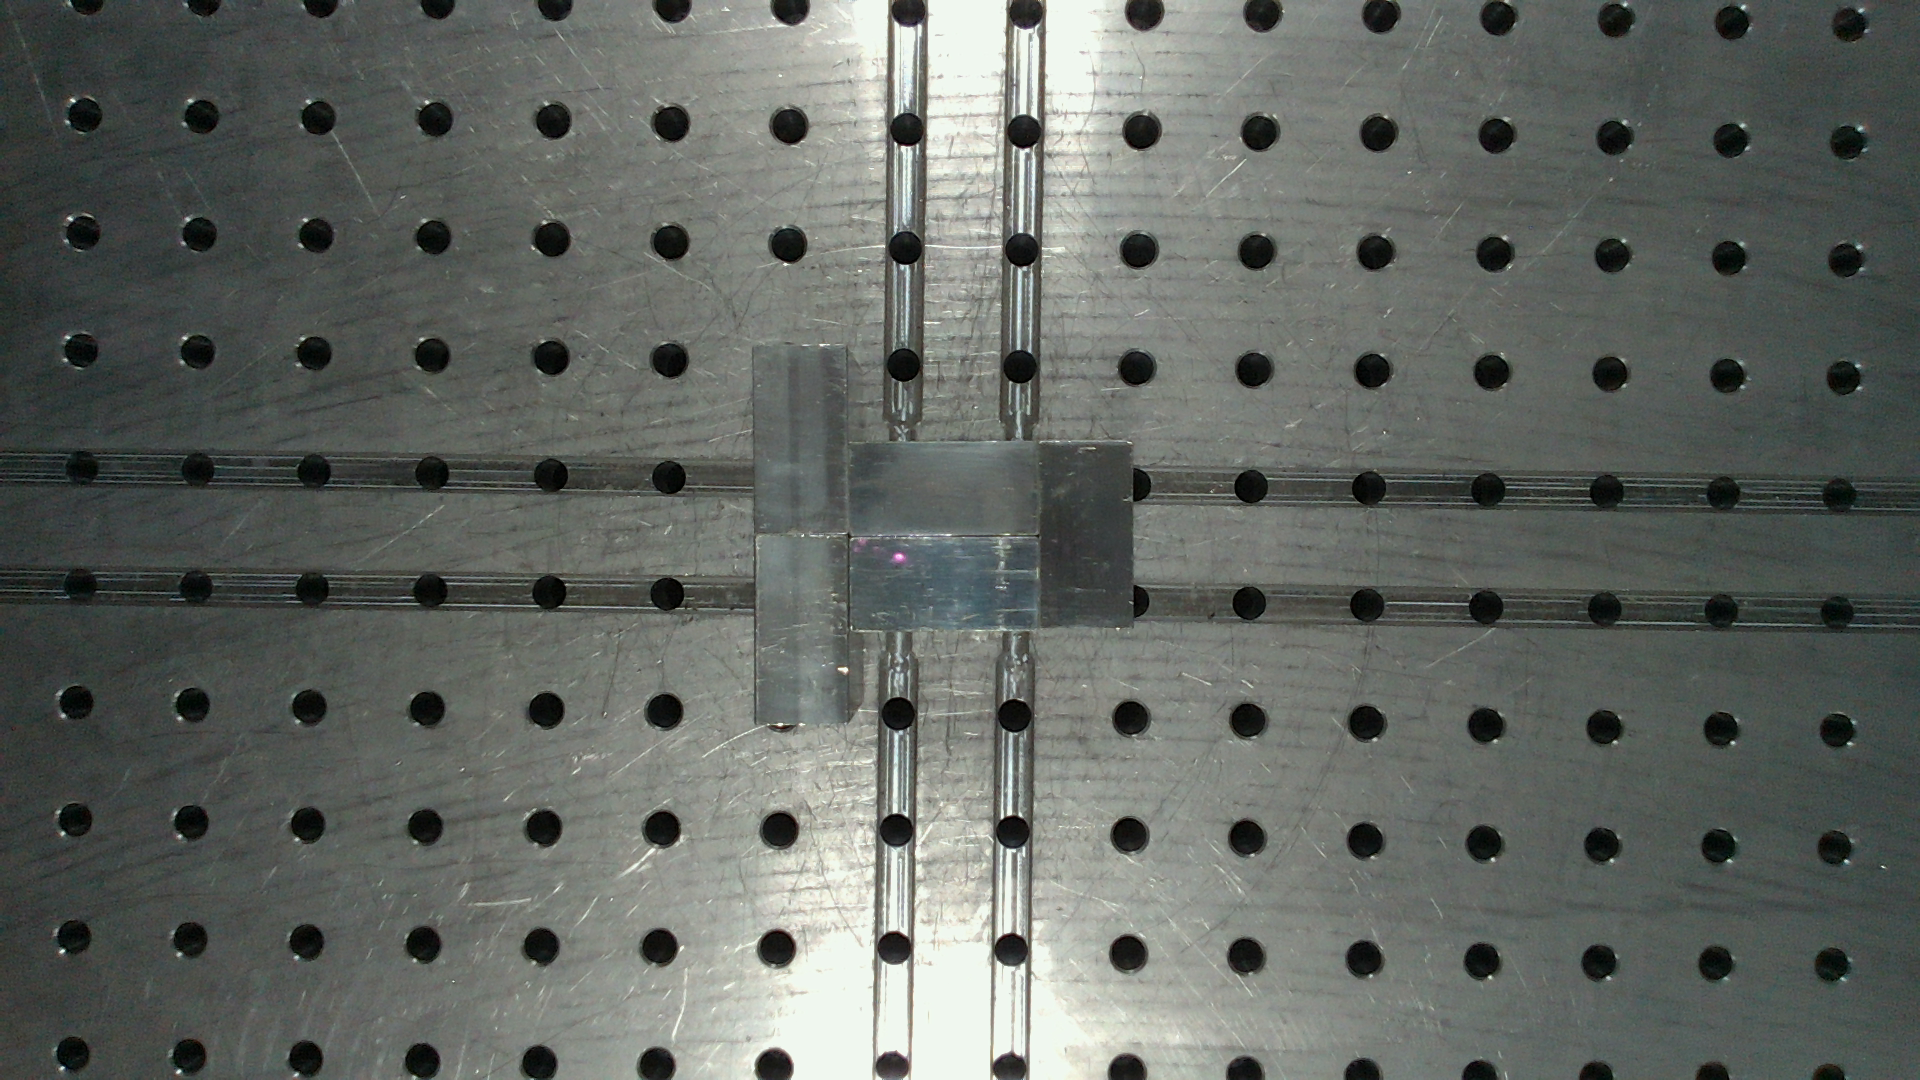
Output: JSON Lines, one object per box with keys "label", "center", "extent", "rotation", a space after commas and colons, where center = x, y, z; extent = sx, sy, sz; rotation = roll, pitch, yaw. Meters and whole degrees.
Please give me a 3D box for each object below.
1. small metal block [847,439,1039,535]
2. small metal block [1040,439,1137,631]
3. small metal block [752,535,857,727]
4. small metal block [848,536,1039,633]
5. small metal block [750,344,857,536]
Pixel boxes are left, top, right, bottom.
{"label": "small metal block", "center": [-0.004, -0.014, 0.384], "extent": [0.050, 0.050, 0.025], "rotation": [0, 90, 0]}
{"label": "small metal block", "center": [0.034, -0.001, 0.385], "extent": [0.025, 0.050, 0.050], "rotation": [0, 90, 0]}
{"label": "small metal block", "center": [-0.042, 0.024, 0.384], "extent": [0.025, 0.050, 0.050], "rotation": [0, 90, 0]}
{"label": "small metal block", "center": [-0.004, 0.011, 0.384], "extent": [0.050, 0.050, 0.025], "rotation": [0, 90, 0]}
{"label": "small metal block", "center": [-0.042, -0.026, 0.384], "extent": [0.025, 0.050, 0.050], "rotation": [0, 90, 0]}
